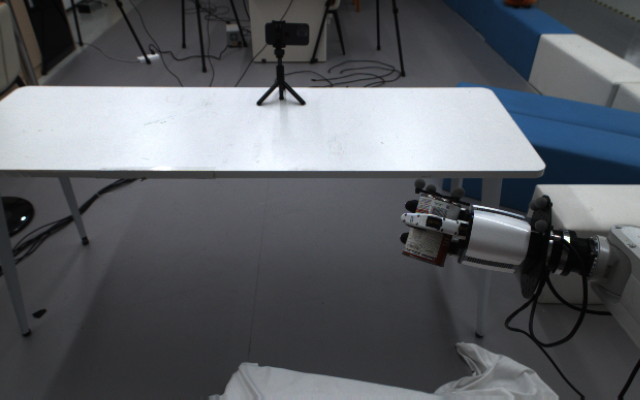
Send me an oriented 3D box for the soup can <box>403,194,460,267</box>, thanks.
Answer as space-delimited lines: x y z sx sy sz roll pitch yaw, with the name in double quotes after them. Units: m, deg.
0.178 0.047 0.768 0.067 0.101 0.067 18 -2 1 "soup can"
